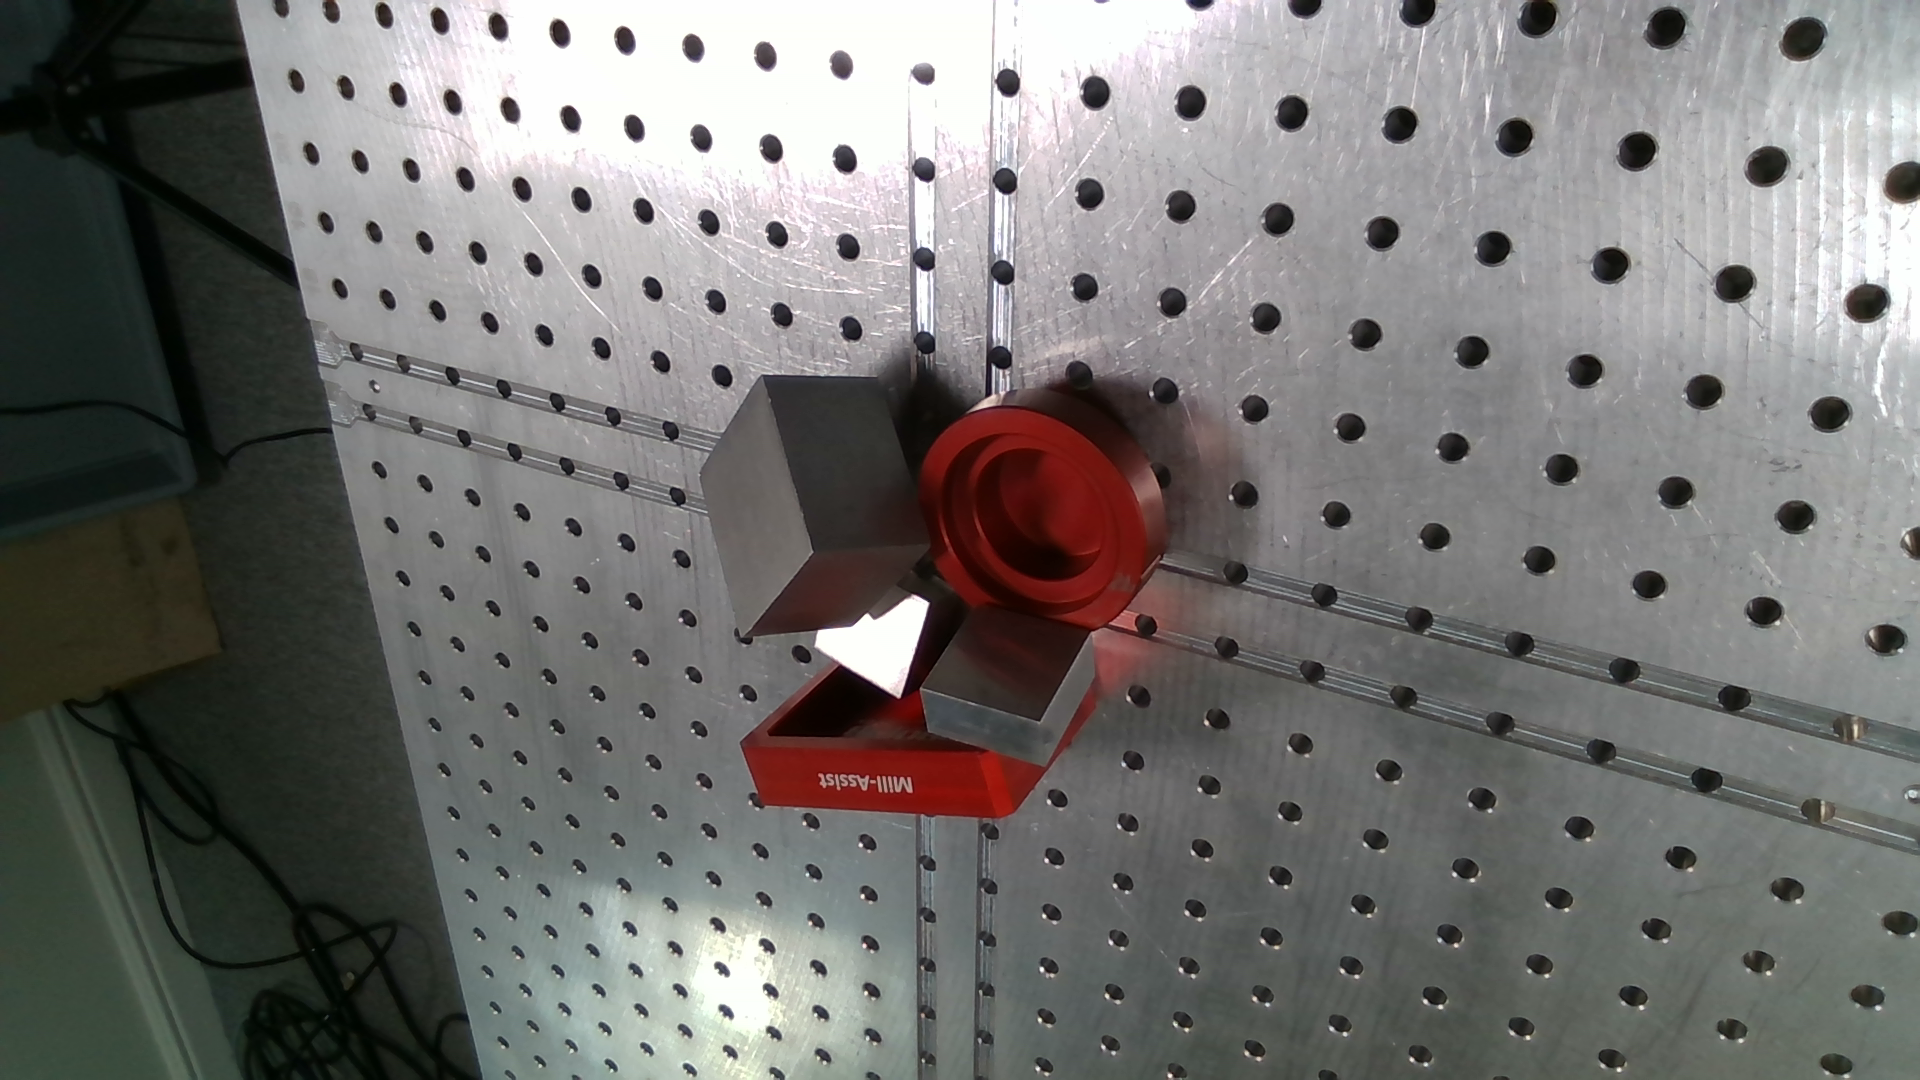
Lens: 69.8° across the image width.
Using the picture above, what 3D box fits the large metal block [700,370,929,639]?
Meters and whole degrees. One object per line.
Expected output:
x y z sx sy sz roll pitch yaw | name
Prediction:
-0.063 -0.014 0.568 0.080 0.050 0.080 -46 56 50 | large metal block

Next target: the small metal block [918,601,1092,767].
0.019 0.055 0.532 0.050 0.050 0.025 13 135 24 | small metal block

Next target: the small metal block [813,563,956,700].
-0.033 0.035 0.616 0.050 0.025 0.050 27 115 22 | small metal block

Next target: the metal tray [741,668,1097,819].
-0.018 0.080 0.596 0.130 0.090 0.030 -4 113 33 | metal tray

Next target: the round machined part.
0.035 -0.014 0.542 0.098 0.042 0.098 14 122 25 | round machined part
